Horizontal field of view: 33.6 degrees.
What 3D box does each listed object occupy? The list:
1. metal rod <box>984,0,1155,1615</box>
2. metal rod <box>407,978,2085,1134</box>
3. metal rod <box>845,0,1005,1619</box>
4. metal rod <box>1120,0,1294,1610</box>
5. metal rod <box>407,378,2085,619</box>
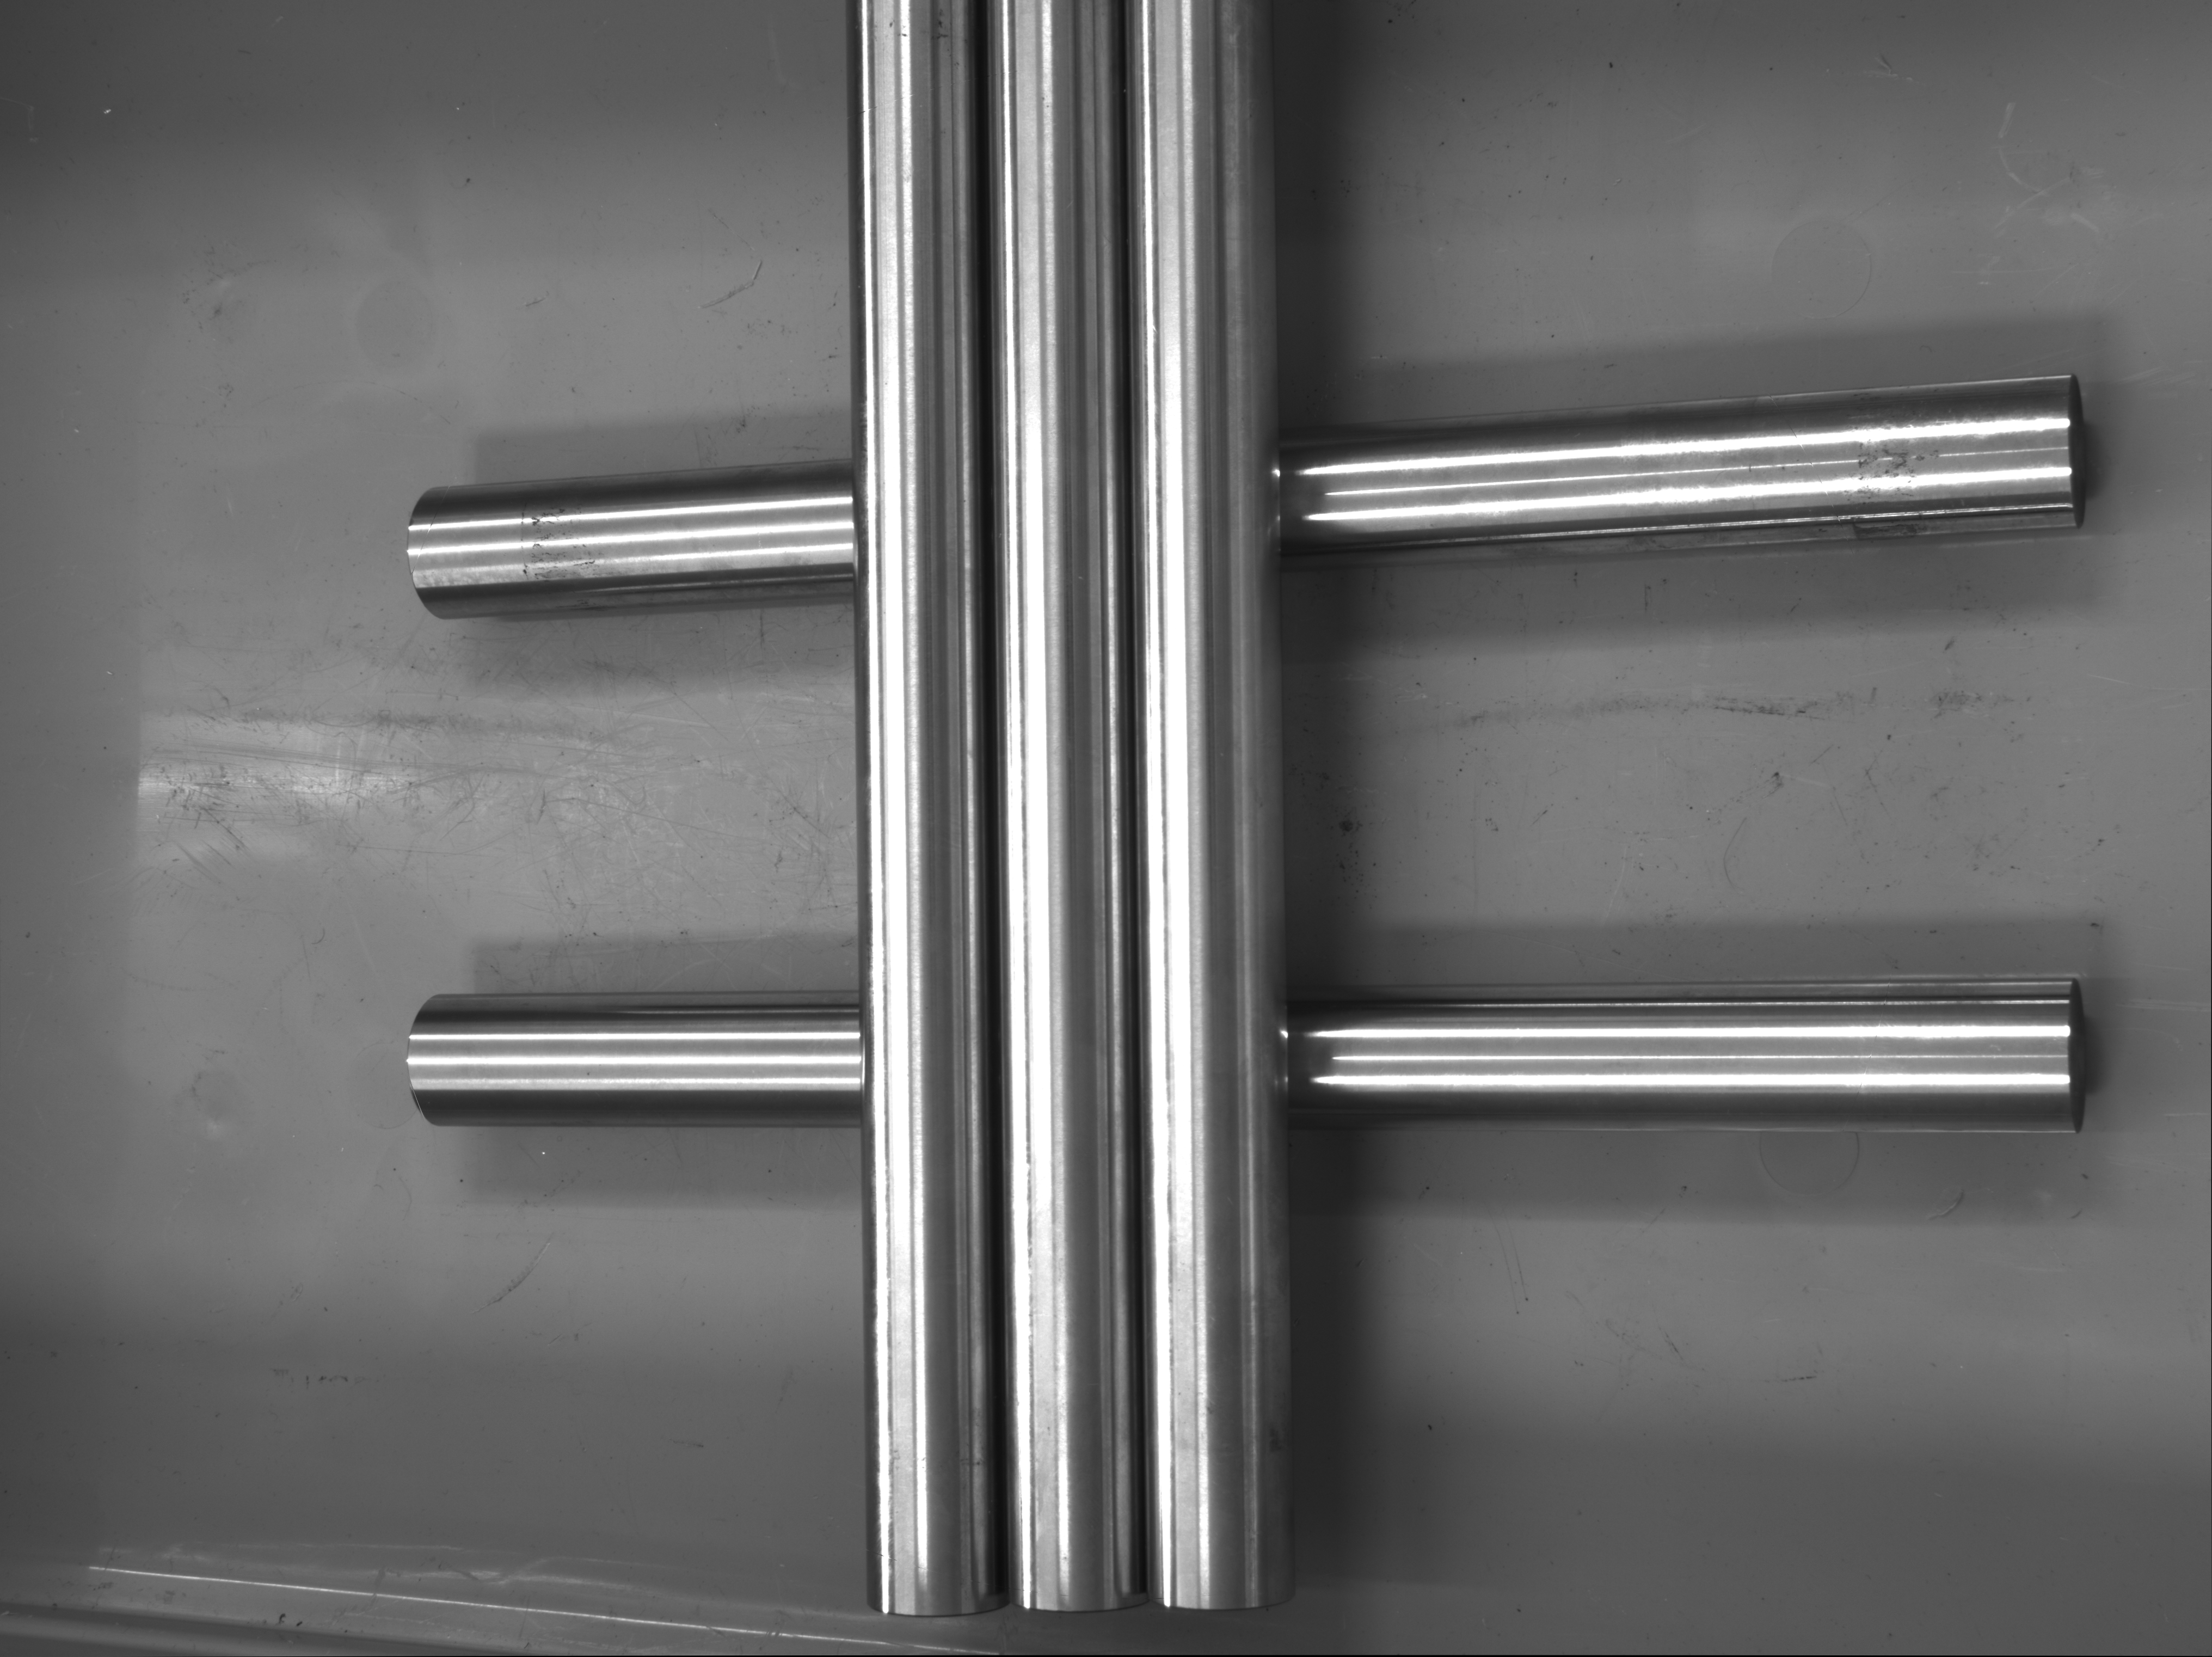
[{"bbox_3d":[-0.006,-0.020,0.620,0.025,0.025,0.300,-1,90,20],"label":"metal rod"},{"bbox_3d":[0.015,0.040,0.640,0.299,0.025,0.025,-1,89,20],"label":"metal rod"},{"bbox_3d":[-0.030,-0.017,0.629,0.025,0.025,0.300,-1,90,20],"label":"metal rod"},{"bbox_3d":[0.017,-0.023,0.612,0.025,0.025,0.300,-1,90,20],"label":"metal rod"},{"bbox_3d":[0.015,-0.056,0.640,0.299,0.025,0.025,-2,89,20],"label":"metal rod"}]
